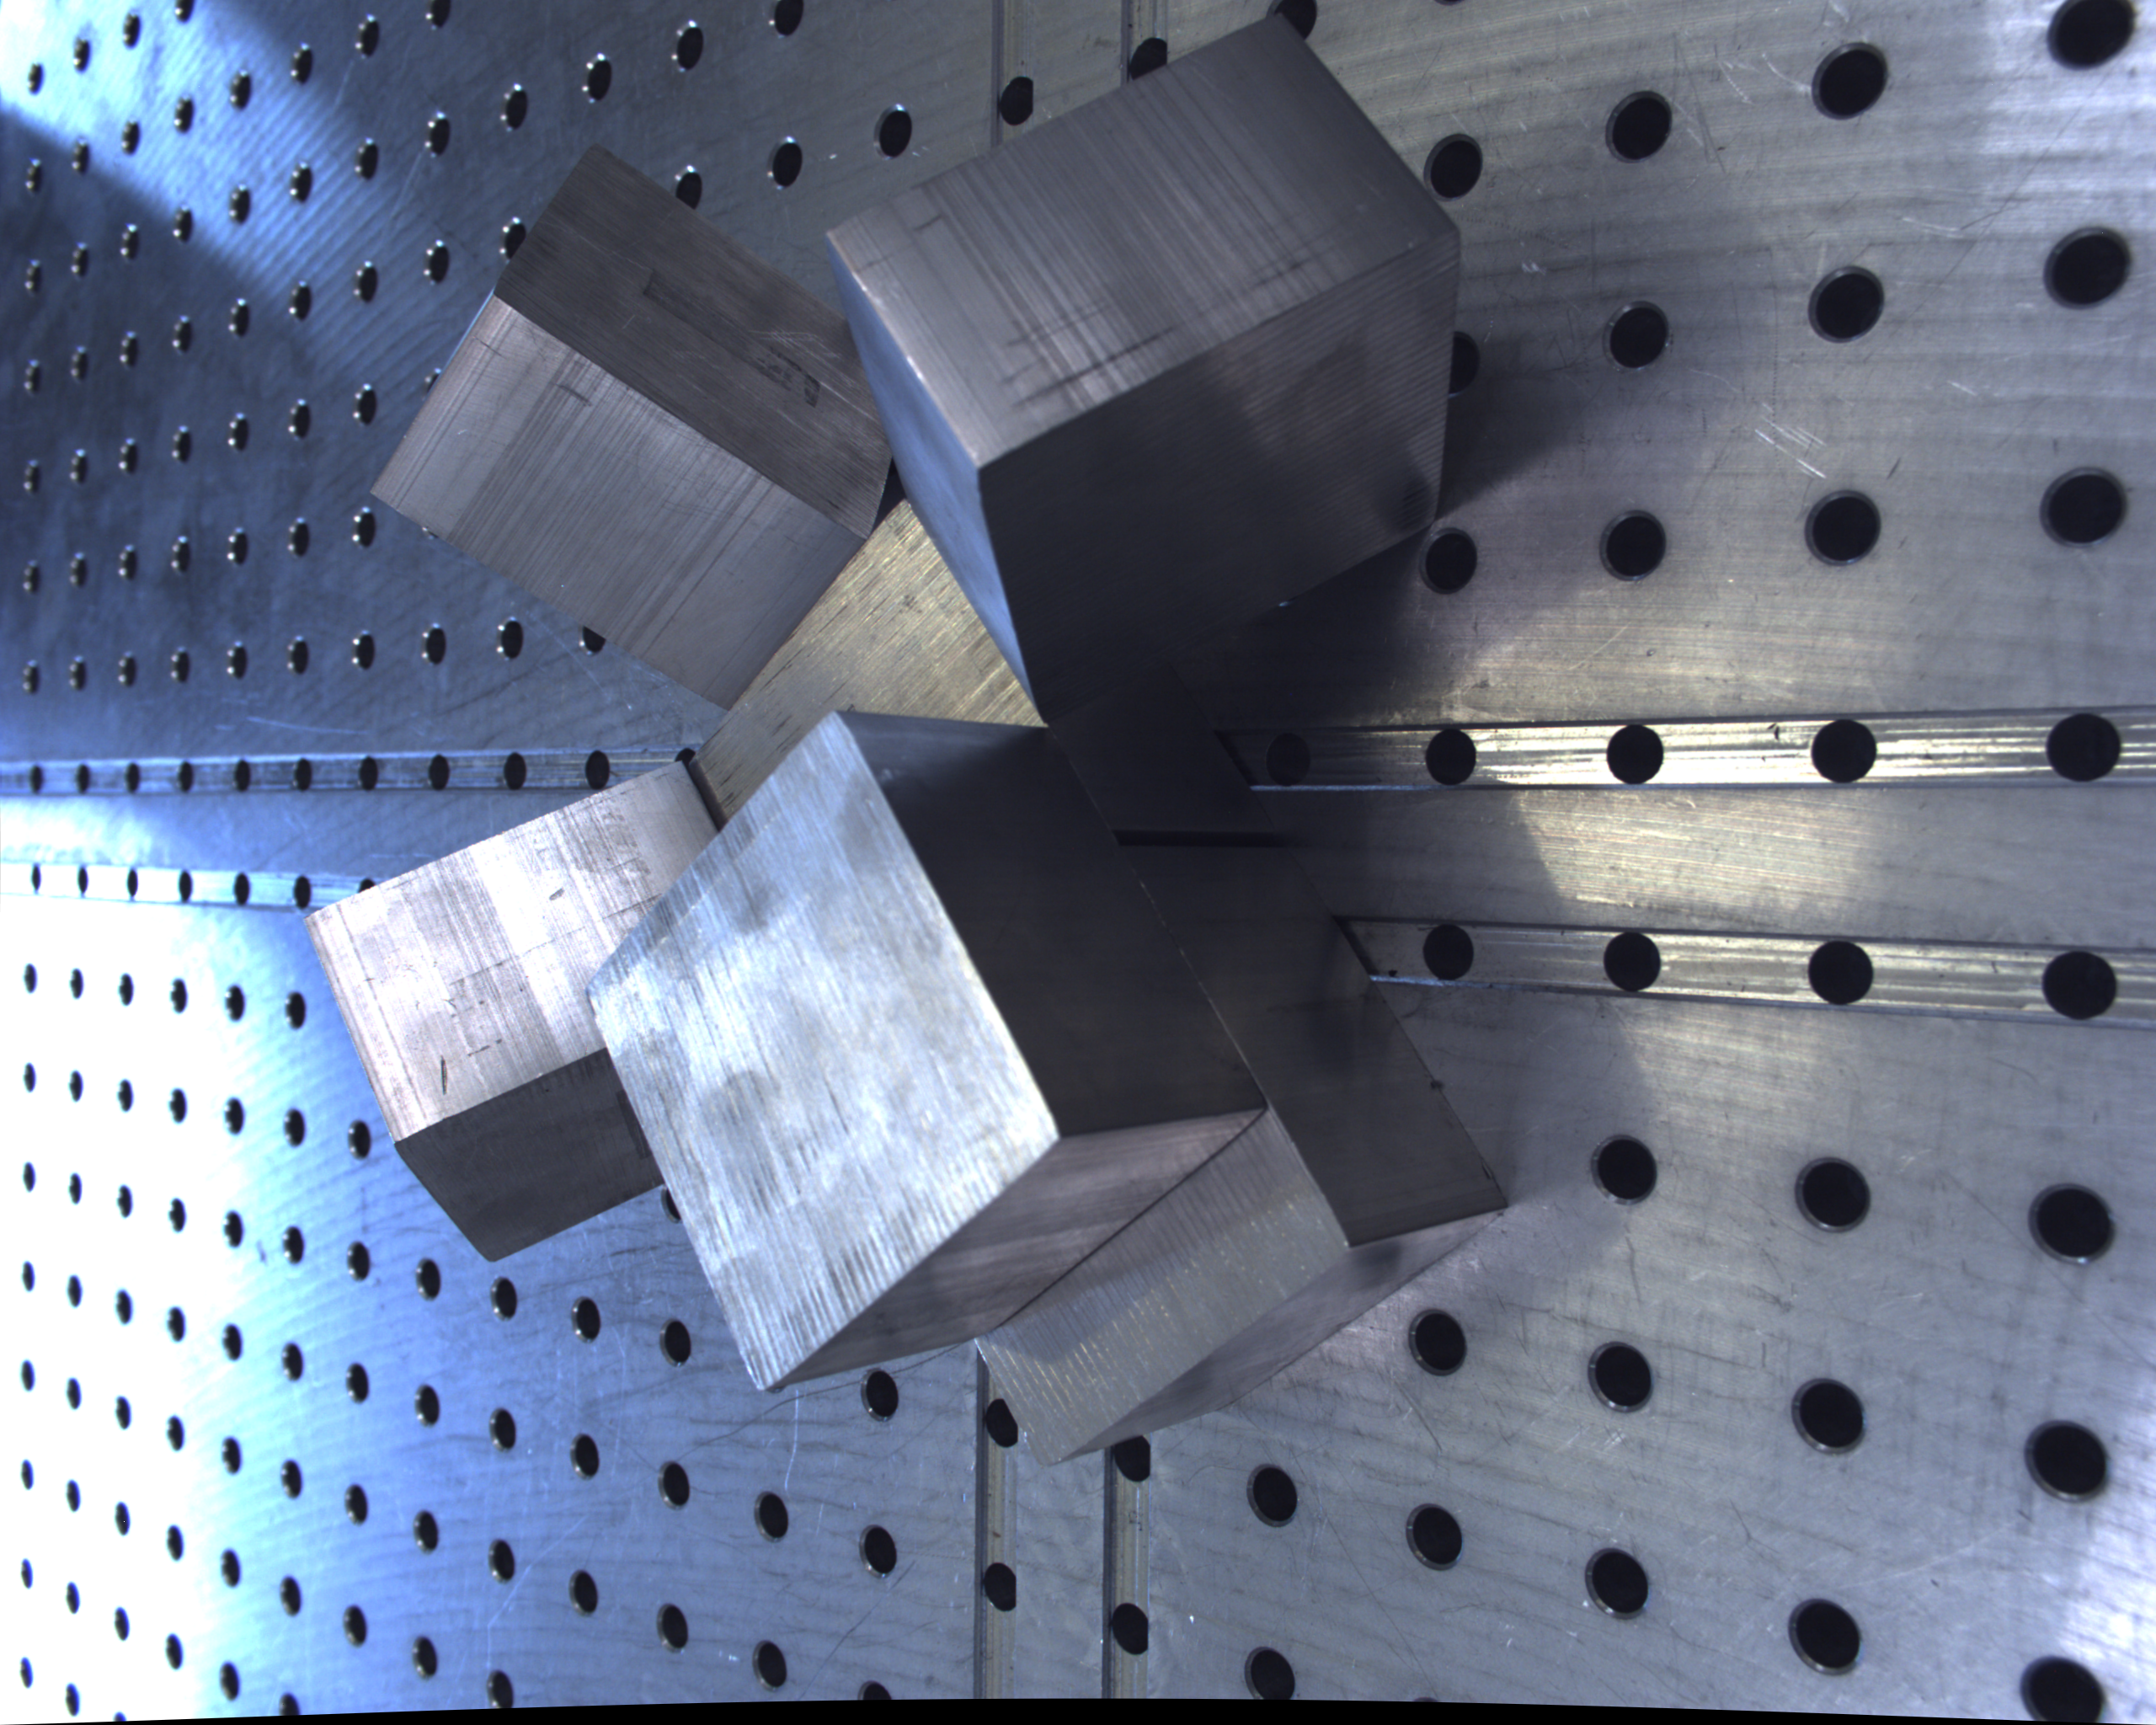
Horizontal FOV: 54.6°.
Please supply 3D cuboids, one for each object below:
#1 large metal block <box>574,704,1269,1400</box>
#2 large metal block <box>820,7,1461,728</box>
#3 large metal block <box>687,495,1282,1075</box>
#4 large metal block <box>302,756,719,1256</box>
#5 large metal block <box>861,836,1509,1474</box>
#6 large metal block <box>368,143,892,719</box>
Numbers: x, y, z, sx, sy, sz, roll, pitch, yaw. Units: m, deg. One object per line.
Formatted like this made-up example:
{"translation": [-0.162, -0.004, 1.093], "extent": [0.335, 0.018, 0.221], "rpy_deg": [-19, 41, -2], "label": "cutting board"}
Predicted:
{"translation": [-0.029, 0.031, 0.351], "extent": [0.080, 0.050, 0.080], "rpy_deg": [-44, 64, 30], "label": "large metal block"}
{"translation": [0.013, -0.078, 0.343], "extent": [0.080, 0.080, 0.050], "rpy_deg": [-28, 66, -6], "label": "large metal block"}
{"translation": [-0.021, -0.014, 0.411], "extent": [0.080, 0.050, 0.080], "rpy_deg": [-46, 63, 30], "label": "large metal block"}
{"translation": [-0.105, 0.032, 0.442], "extent": [0.050, 0.080, 0.080], "rpy_deg": [60, 165, 24], "label": "large metal block"}
{"translation": [0.016, 0.052, 0.380], "extent": [0.080, 0.050, 0.080], "rpy_deg": [-43, 63, 30], "label": "large metal block"}
{"translation": [-0.084, -0.088, 0.424], "extent": [0.050, 0.080, 0.080], "rpy_deg": [-45, 24, 31], "label": "large metal block"}
